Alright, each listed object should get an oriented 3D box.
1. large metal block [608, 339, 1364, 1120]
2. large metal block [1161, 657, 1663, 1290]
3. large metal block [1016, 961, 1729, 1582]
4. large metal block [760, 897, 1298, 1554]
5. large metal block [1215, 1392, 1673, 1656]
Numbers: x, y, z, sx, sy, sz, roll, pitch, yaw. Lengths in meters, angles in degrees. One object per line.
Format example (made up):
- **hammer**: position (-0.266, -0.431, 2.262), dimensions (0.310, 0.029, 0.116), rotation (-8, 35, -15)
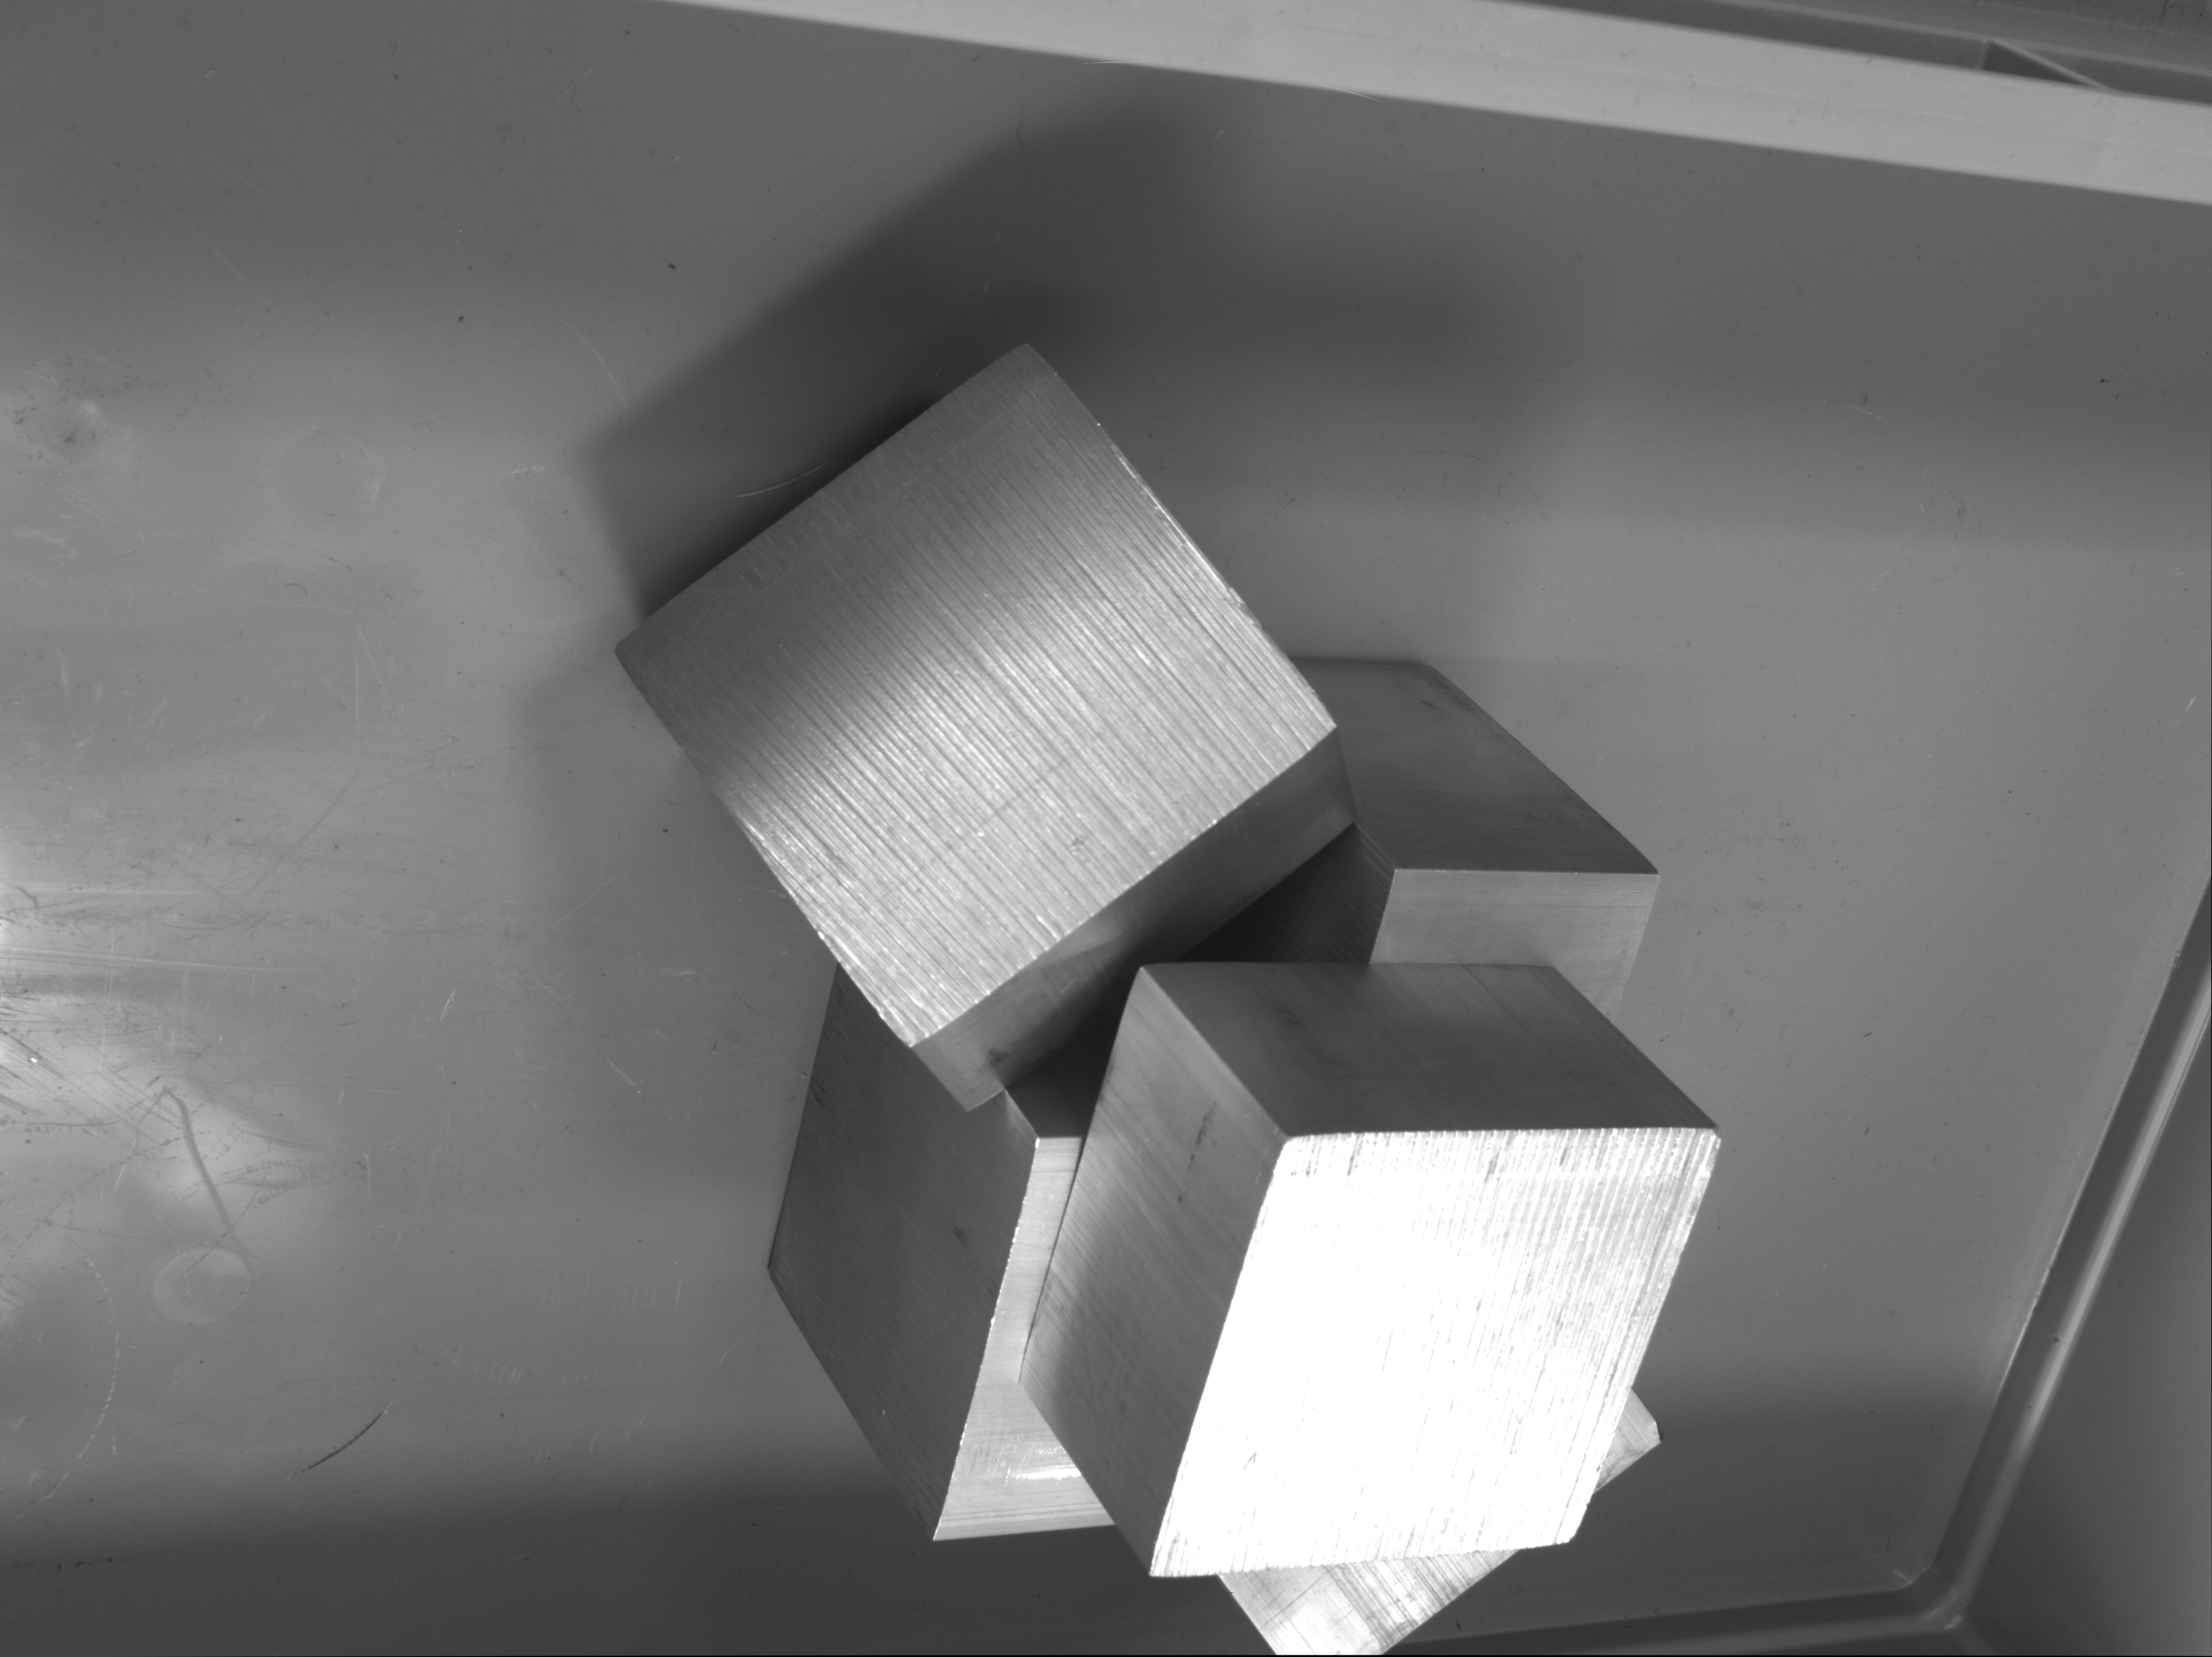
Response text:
- **large metal block**: position (-0.017, -0.014, 0.573), dimensions (0.080, 0.080, 0.050), rotation (-37, 164, -4)
- **large metal block**: position (0.043, 0.024, 0.637), dimensions (0.050, 0.080, 0.080), rotation (1, 117, -29)
- **large metal block**: position (0.041, 0.068, 0.580), dimensions (0.080, 0.050, 0.080), rotation (2, 117, -29)
- **large metal block**: position (-0.015, 0.066, 0.633), dimensions (0.050, 0.080, 0.080), rotation (1, 117, -29)
- **large metal block**: position (0.050, 0.111, 0.685), dimensions (0.080, 0.080, 0.050), rotation (-36, 94, -5)
